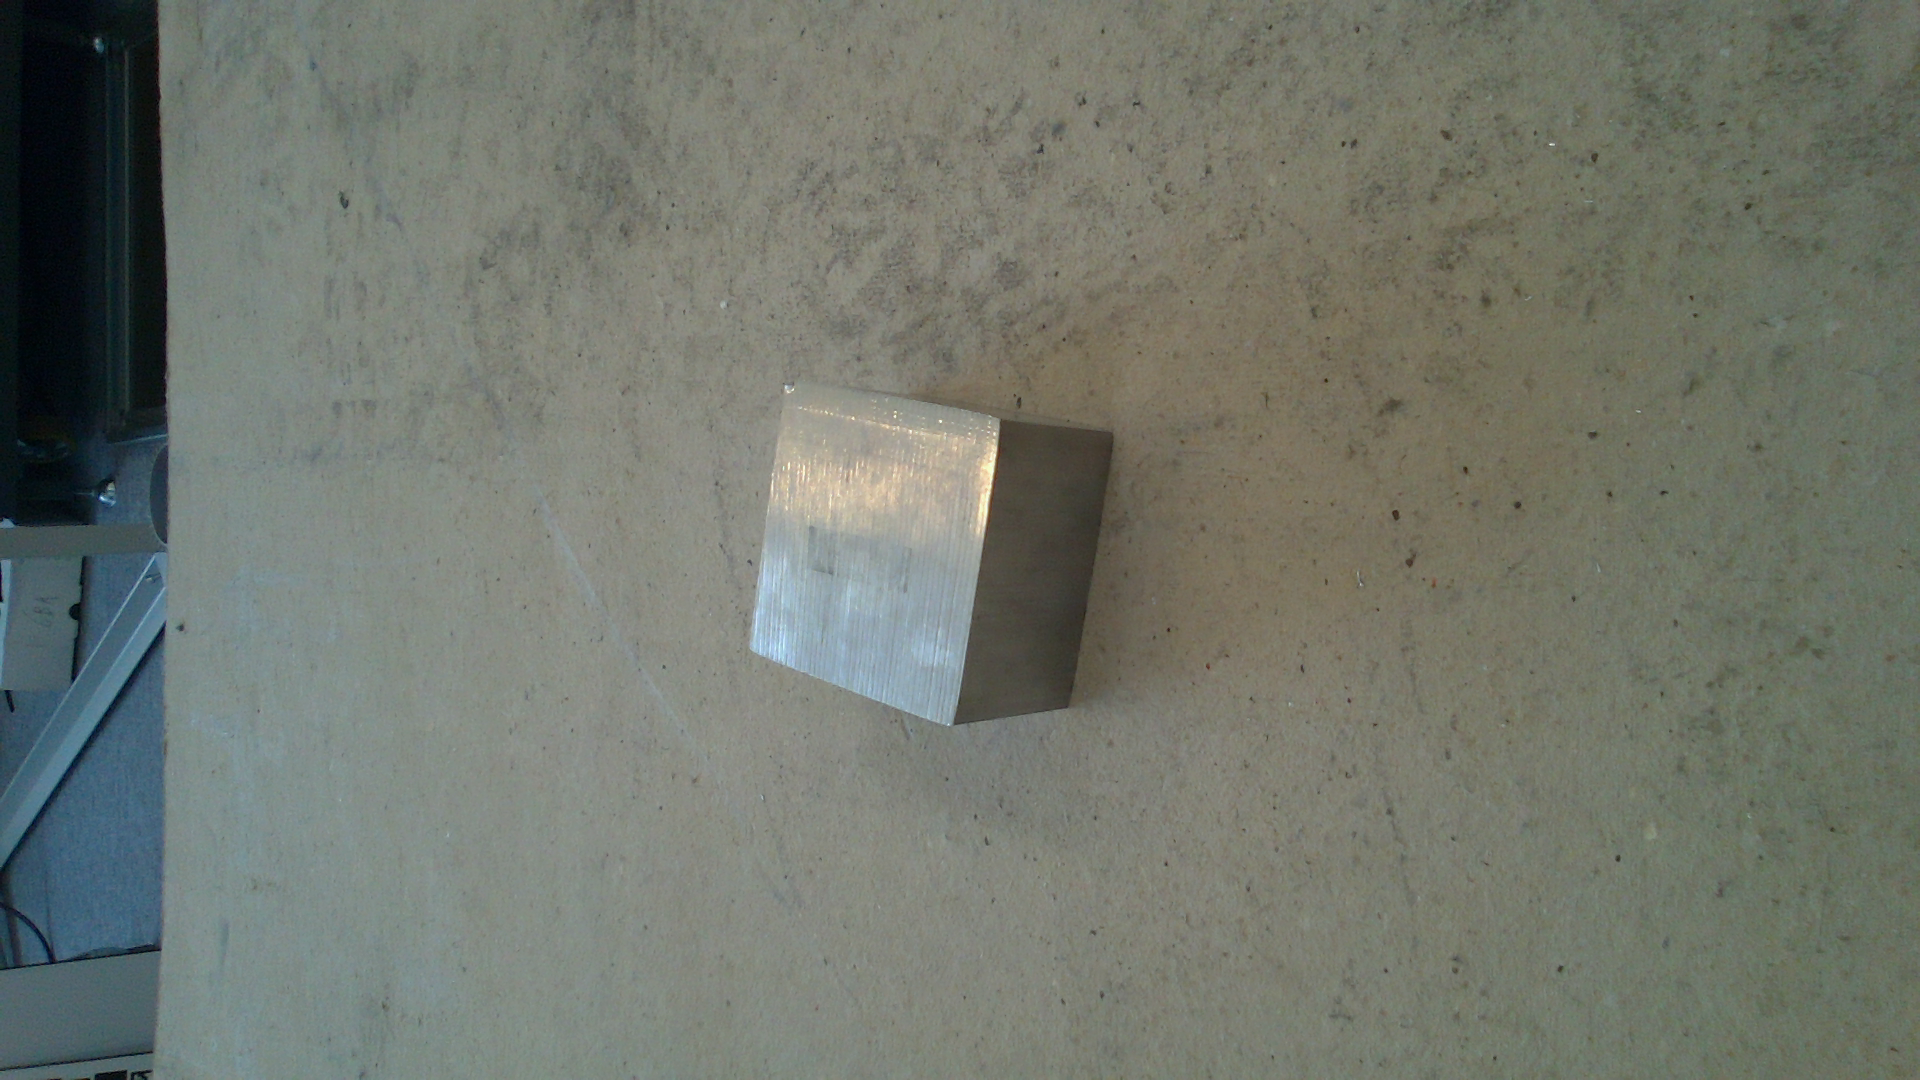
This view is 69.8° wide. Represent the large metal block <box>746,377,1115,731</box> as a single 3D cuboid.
[{"bbox_3d":[-0.010,0.001,0.387,0.080,0.050,0.080,14,100,38],"label":"large metal block"}]
